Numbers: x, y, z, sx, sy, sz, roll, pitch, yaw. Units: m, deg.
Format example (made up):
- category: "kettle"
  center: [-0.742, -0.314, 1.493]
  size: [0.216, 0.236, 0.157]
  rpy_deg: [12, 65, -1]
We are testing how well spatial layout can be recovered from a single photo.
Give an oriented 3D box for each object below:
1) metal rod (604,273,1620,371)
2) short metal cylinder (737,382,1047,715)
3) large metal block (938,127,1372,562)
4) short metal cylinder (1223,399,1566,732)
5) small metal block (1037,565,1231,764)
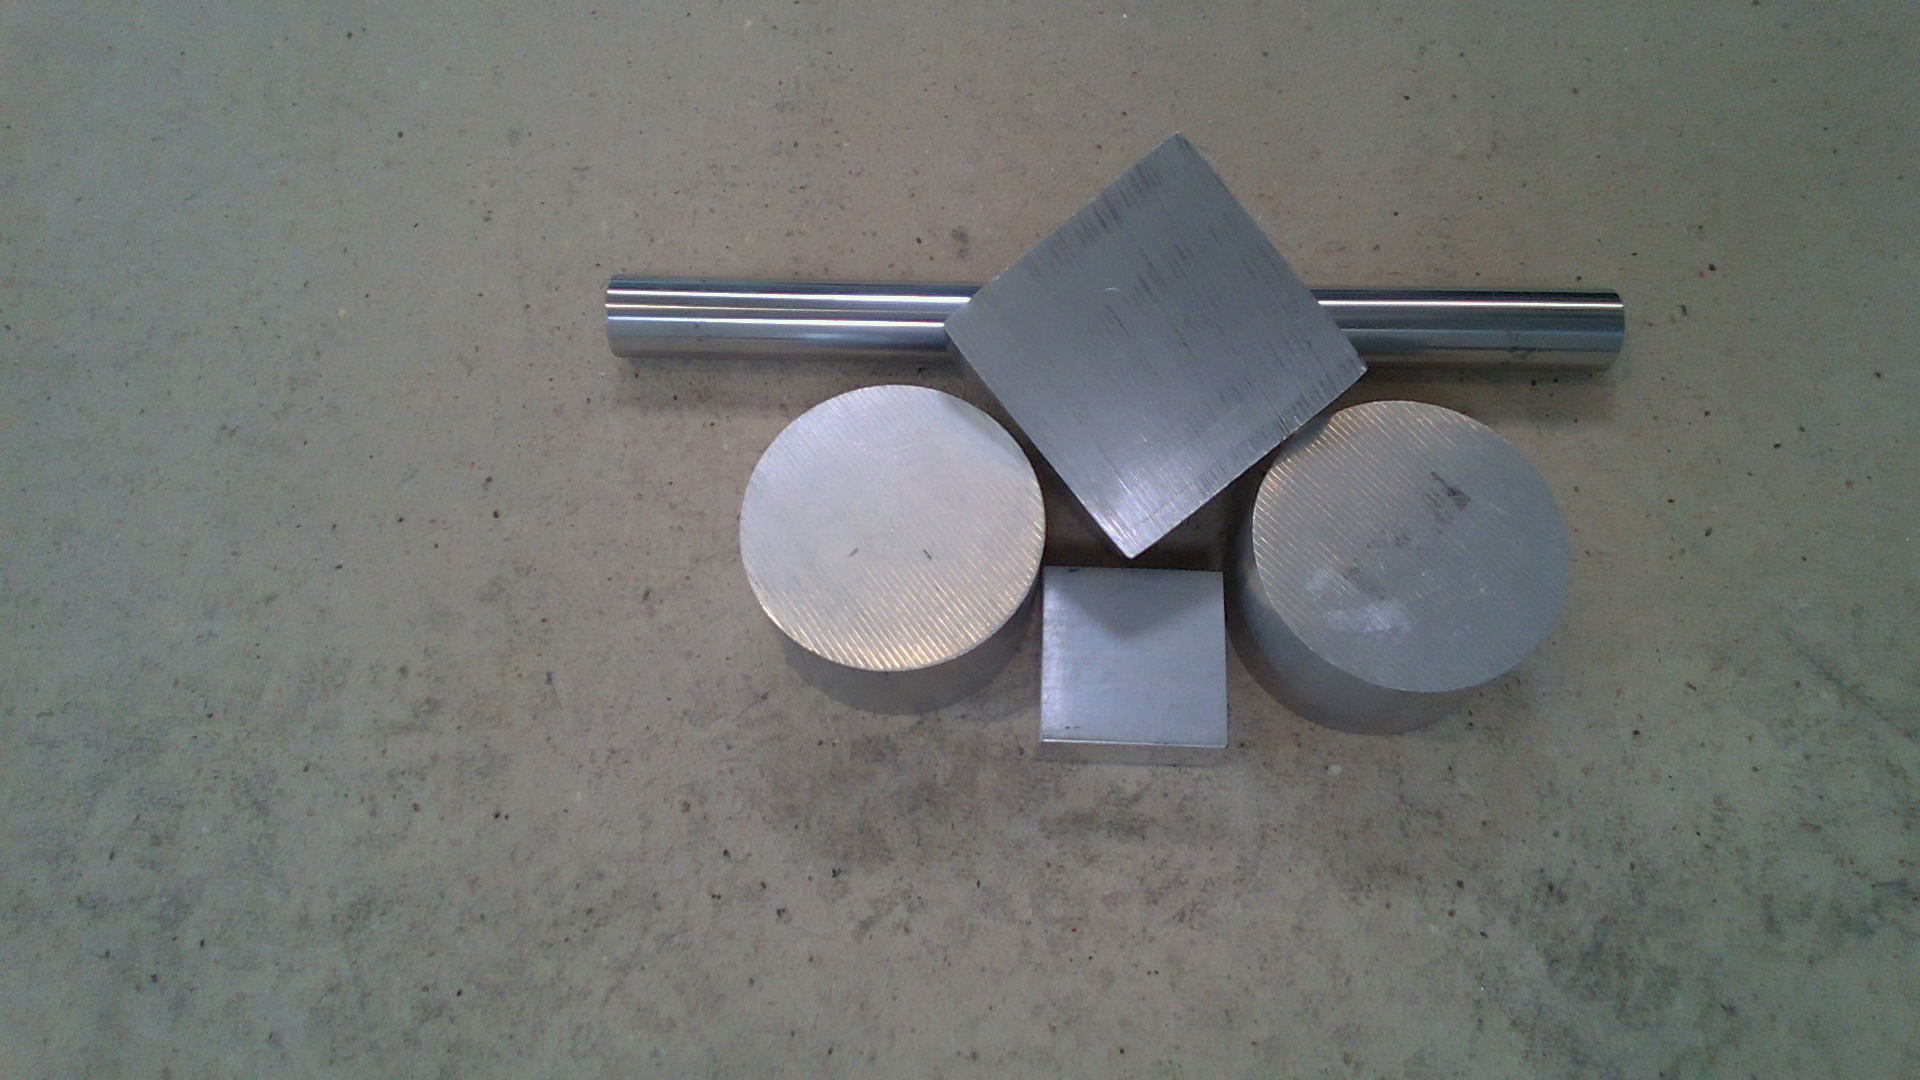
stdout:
- category: "metal rod"
  center: [0.045, -0.066, 0.418]
  size: [0.300, 0.025, 0.025]
  rpy_deg: [1, 70, 0]
- category: "short metal cylinder"
  center: [-0.017, 0.004, 0.379]
  size: [0.080, 0.050, 0.080]
  rpy_deg: [0, 70, 0]
- category: "large metal block"
  center: [0.051, -0.051, 0.381]
  size: [0.080, 0.050, 0.080]
  rpy_deg: [-39, 91, 1]
- category: "short metal cylinder"
  center: [0.116, 0.008, 0.378]
  size: [0.080, 0.050, 0.080]
  rpy_deg: [0, 70, 0]
- category: "small metal block"
  center: [0.047, 0.035, 0.383]
  size: [0.050, 0.025, 0.050]
  rpy_deg: [2, 70, 1]
